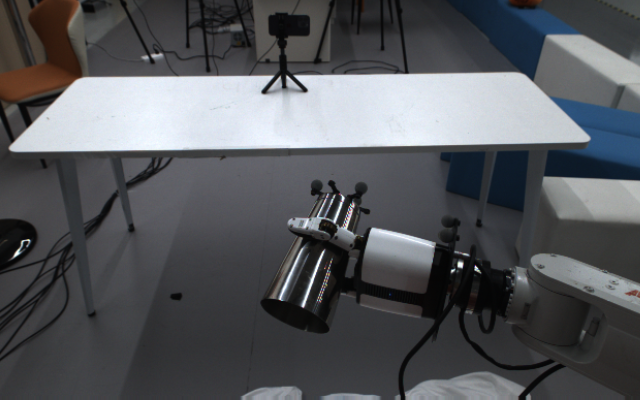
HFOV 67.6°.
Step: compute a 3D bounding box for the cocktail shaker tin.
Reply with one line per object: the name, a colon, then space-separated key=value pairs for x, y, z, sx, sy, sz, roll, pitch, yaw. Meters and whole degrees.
cocktail shaker tin: x=-0.003 y=0.075 z=0.635 sx=0.093 sy=0.093 sz=0.170 roll=14 pitch=58 yaw=16
